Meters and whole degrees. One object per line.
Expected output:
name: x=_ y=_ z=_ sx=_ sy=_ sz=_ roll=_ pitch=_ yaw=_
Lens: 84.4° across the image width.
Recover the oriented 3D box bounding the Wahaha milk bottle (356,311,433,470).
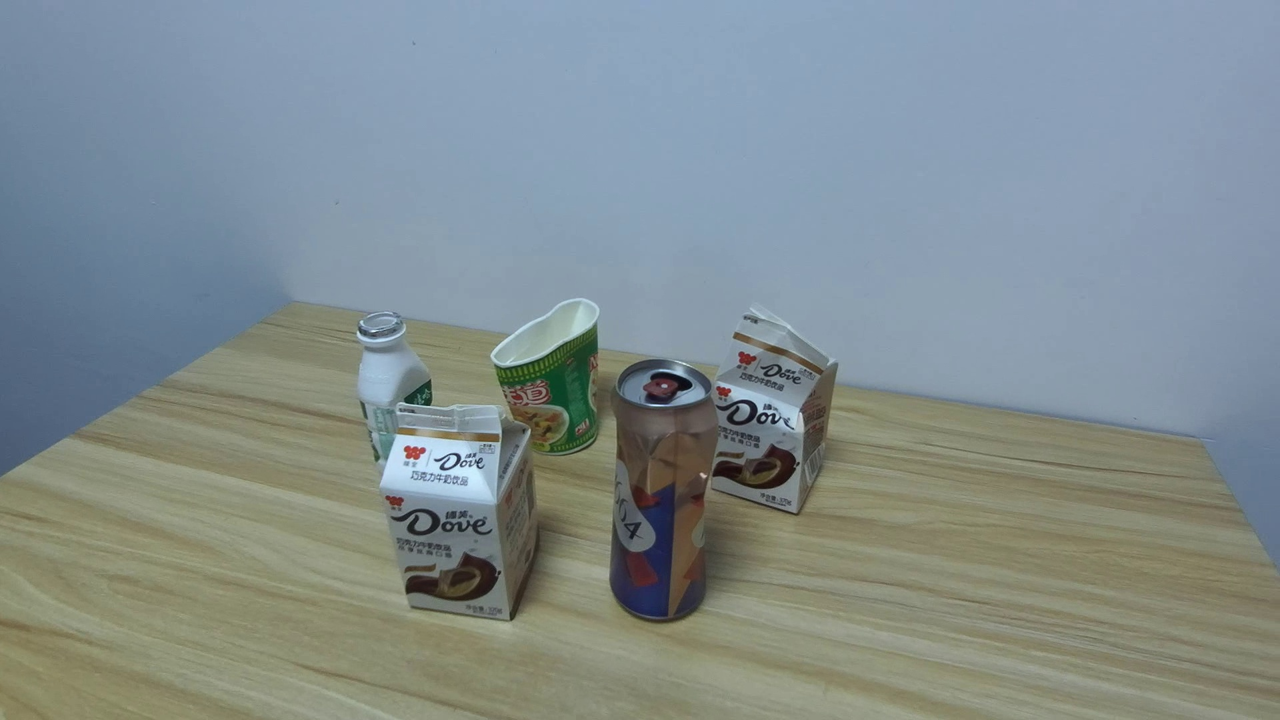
Wahaha milk bottle: x=-0.187 y=0.033 z=0.544 sx=0.056 sy=0.148 sz=0.056 roll=2 pitch=31 yaw=-1

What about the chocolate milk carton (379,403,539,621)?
chocolate milk carton: x=-0.112 y=0.087 z=0.454 sx=0.075 sy=0.148 sz=0.074 roll=5 pitch=33 yaw=7

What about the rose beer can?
rose beer can: x=0.014 y=0.085 z=0.442 sx=0.065 sy=0.167 sz=0.075 roll=-1 pitch=28 yaw=-5

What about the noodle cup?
noodle cup: x=-0.074 y=0.020 z=0.603 sx=0.115 sy=0.111 sz=0.070 roll=-23 pitch=37 yaw=-32

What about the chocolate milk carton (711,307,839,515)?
chocolate milk carton: x=0.102 y=0.031 z=0.534 sx=0.076 sy=0.156 sz=0.074 roll=15 pitch=37 yaw=22
